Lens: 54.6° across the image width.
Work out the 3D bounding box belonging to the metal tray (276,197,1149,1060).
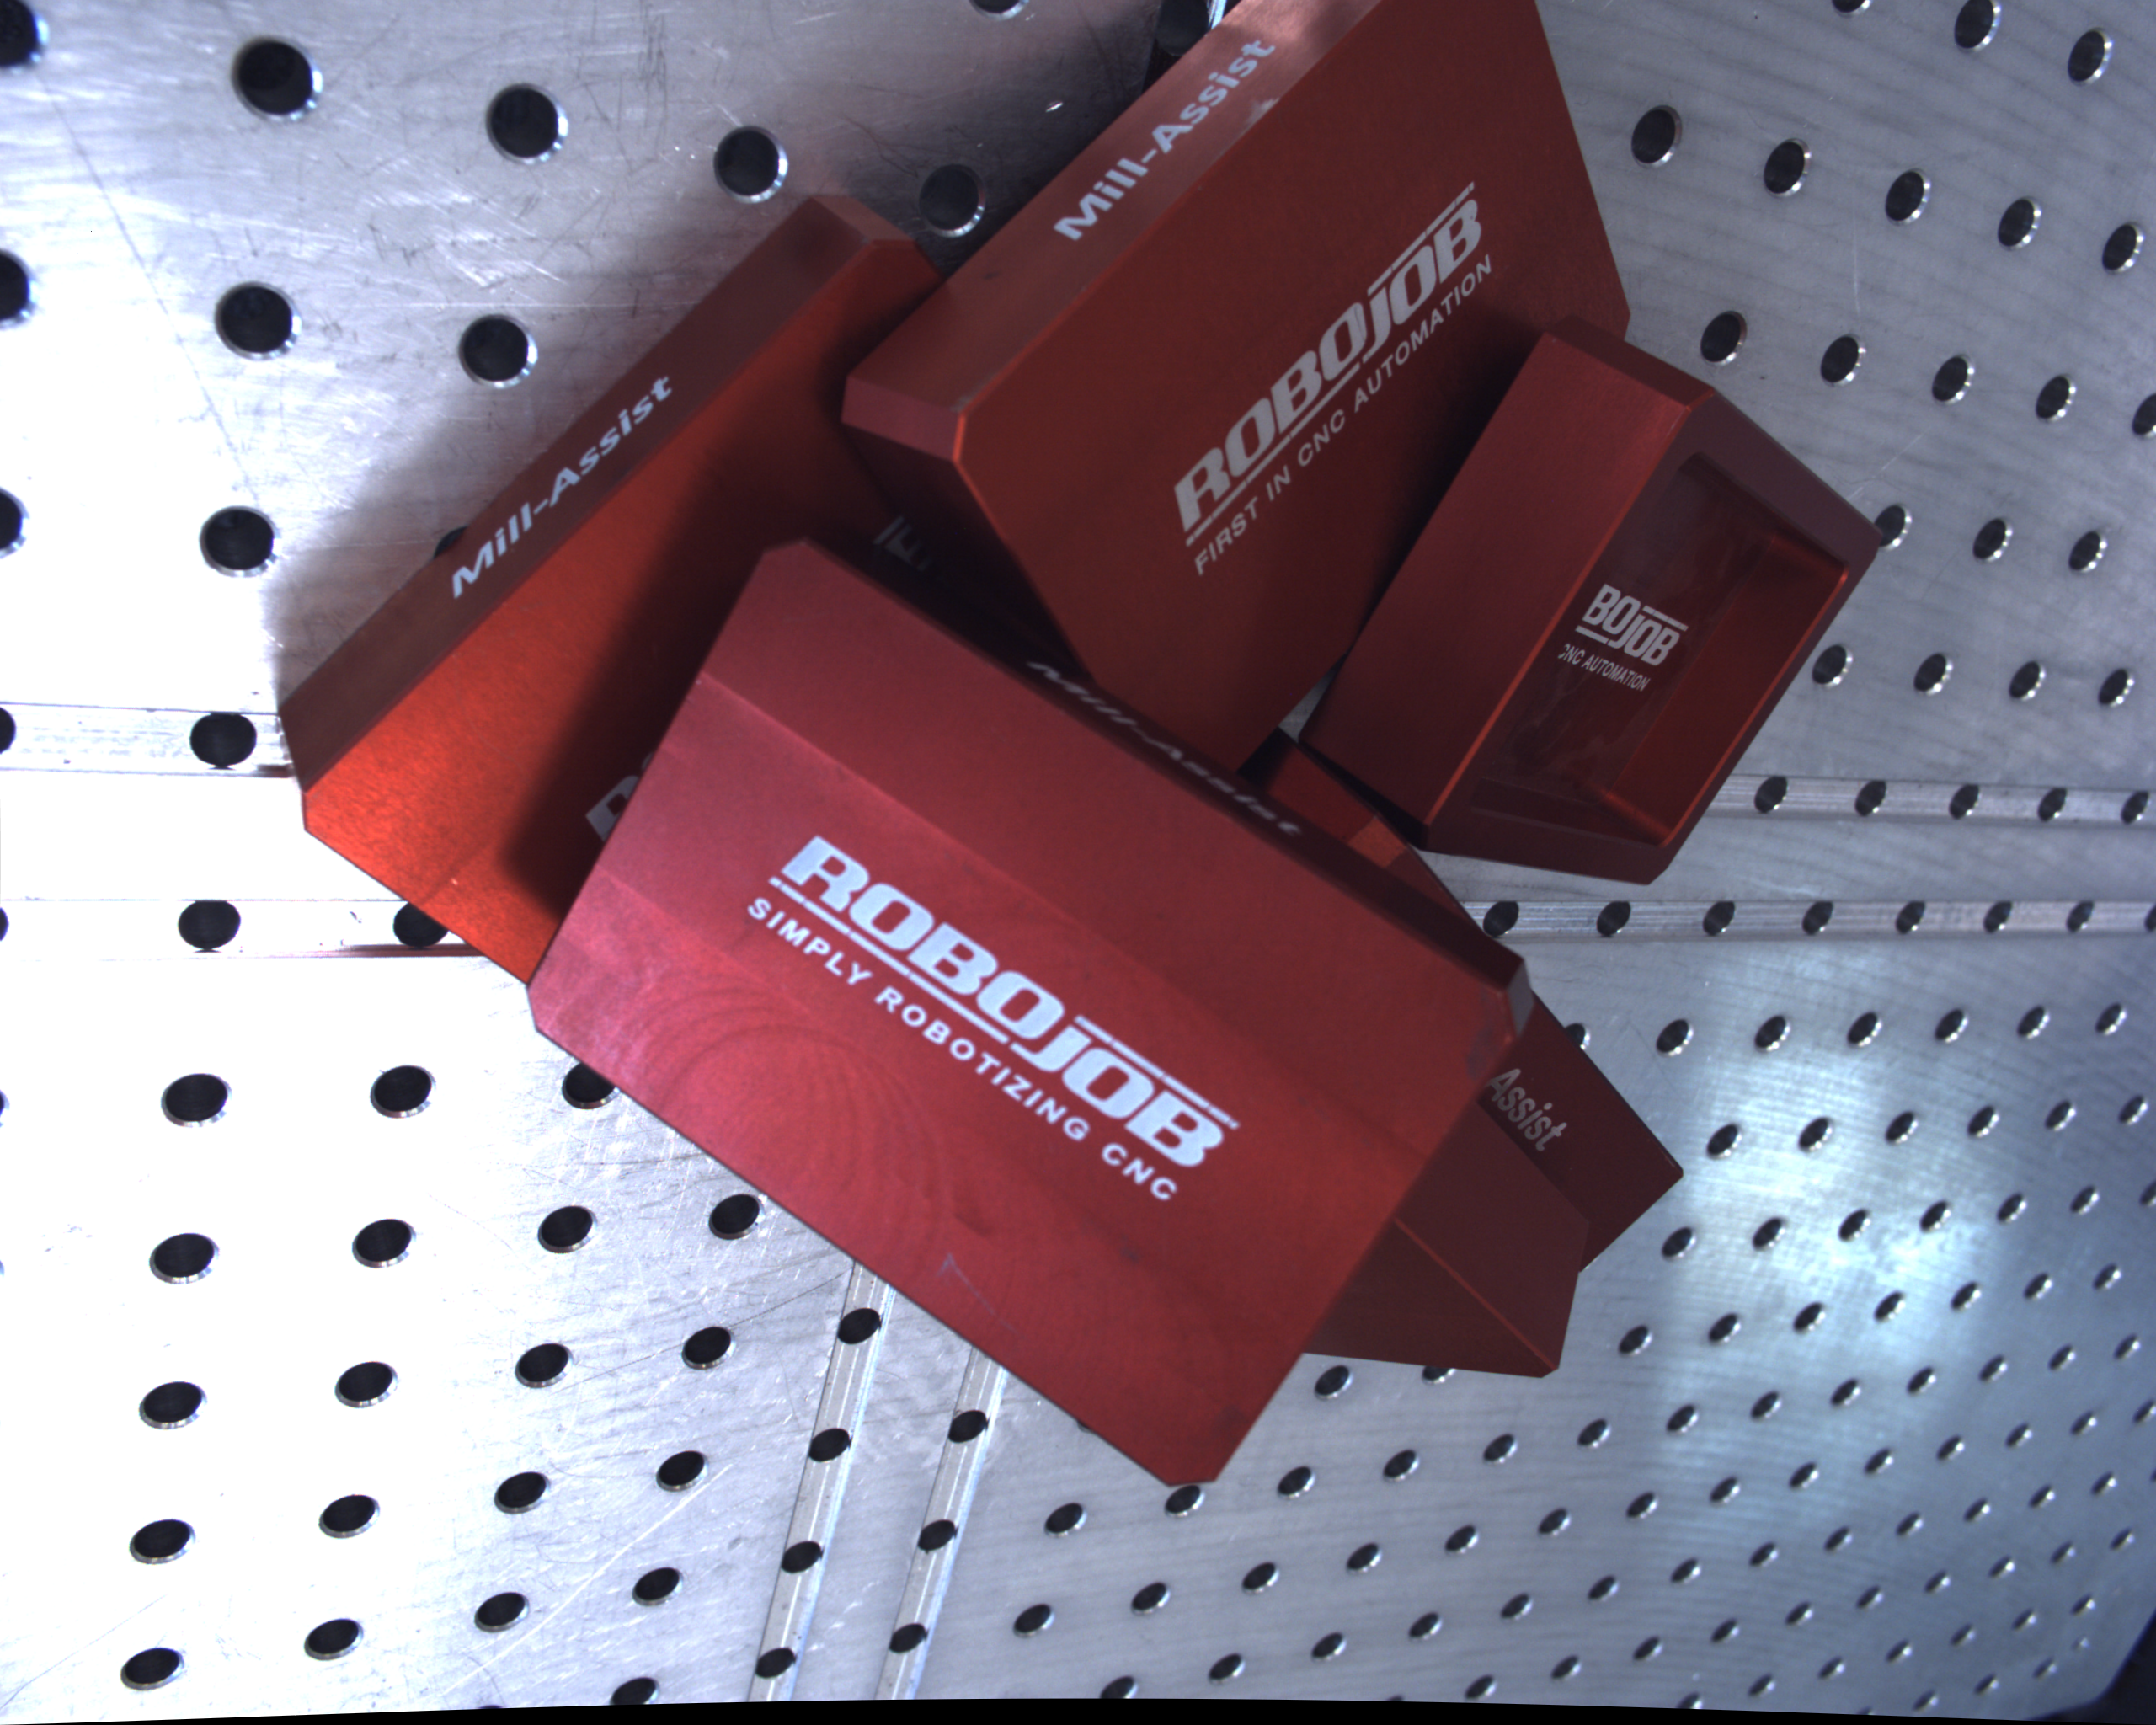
[{"bbox_3d":[-0.056,-0.035,0.355,0.130,0.030,0.090,-43,130,2],"label":"metal tray"}]

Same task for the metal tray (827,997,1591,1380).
[{"bbox_3d":[0.018,0.061,0.396,0.090,0.130,0.030,45,54,-39],"label":"metal tray"}]

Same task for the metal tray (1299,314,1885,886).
[{"bbox_3d":[0.104,-0.043,0.406,0.131,0.030,0.090,7,118,-56],"label":"metal tray"}]

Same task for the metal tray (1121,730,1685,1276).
[{"bbox_3d":[0.058,0.019,0.410,0.030,0.090,0.130,-44,129,2],"label":"metal tray"}]

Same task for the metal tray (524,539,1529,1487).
[{"bbox_3d":[-0.010,0.021,0.320,0.090,0.130,0.030,-59,169,14],"label":"metal tray"}]

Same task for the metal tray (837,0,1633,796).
[{"bbox_3d":[0.032,-0.084,0.349,0.130,0.030,0.090,-47,134,-14],"label":"metal tray"}]
